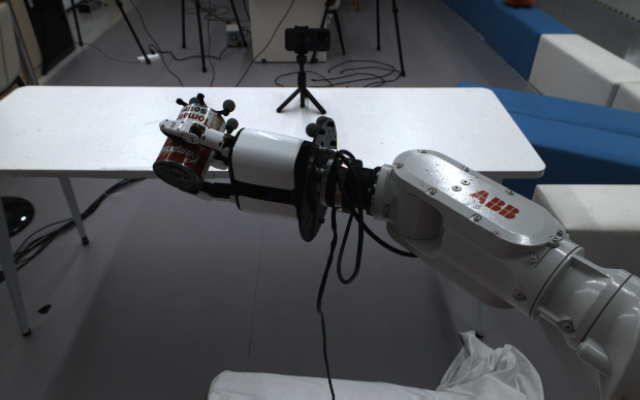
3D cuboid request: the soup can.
[{"bbox_3d":[-0.177,-0.072,0.664,0.067,0.067,0.101,9,60,10],"label":"soup can"}]
